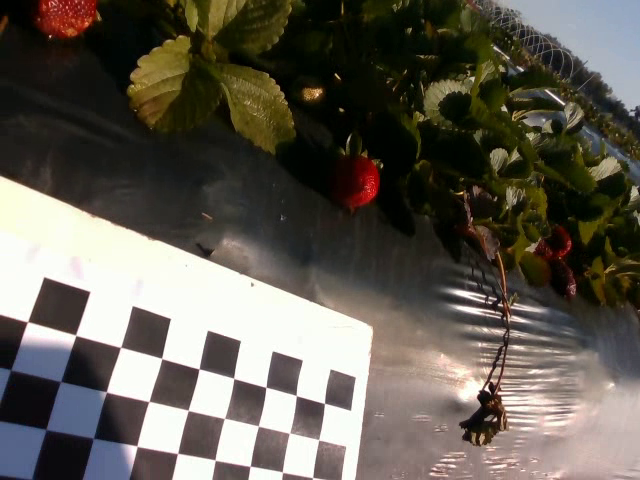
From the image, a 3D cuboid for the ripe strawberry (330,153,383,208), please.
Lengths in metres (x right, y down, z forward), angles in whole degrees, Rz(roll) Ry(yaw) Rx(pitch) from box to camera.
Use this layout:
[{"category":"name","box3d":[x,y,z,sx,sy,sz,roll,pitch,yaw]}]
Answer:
[{"category":"ripe strawberry","box3d":[0.025,-0.039,0.394,0.043,0.043,0.050,-31,14,4]}]

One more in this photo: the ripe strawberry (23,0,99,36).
[{"category":"ripe strawberry","box3d":[-0.139,-0.124,0.301,0.041,0.043,0.053,38,14,-28]}]
